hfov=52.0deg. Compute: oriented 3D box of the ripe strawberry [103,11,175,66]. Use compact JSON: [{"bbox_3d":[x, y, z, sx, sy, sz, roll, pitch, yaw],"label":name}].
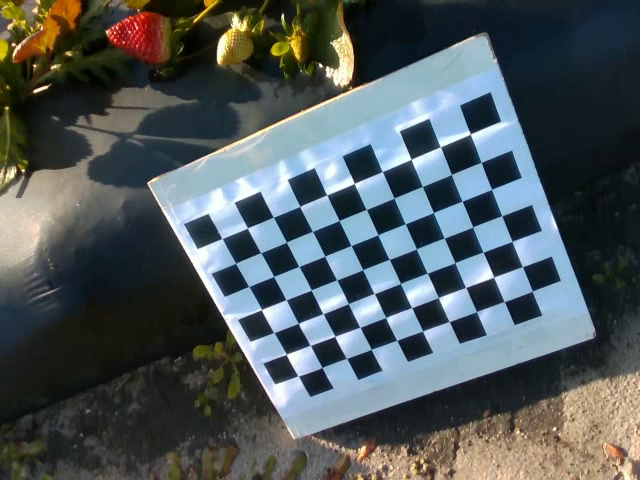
[{"bbox_3d":[-0.129,-0.147,0.469,0.053,0.044,0.036,0,21,-4],"label":"ripe strawberry"}]
